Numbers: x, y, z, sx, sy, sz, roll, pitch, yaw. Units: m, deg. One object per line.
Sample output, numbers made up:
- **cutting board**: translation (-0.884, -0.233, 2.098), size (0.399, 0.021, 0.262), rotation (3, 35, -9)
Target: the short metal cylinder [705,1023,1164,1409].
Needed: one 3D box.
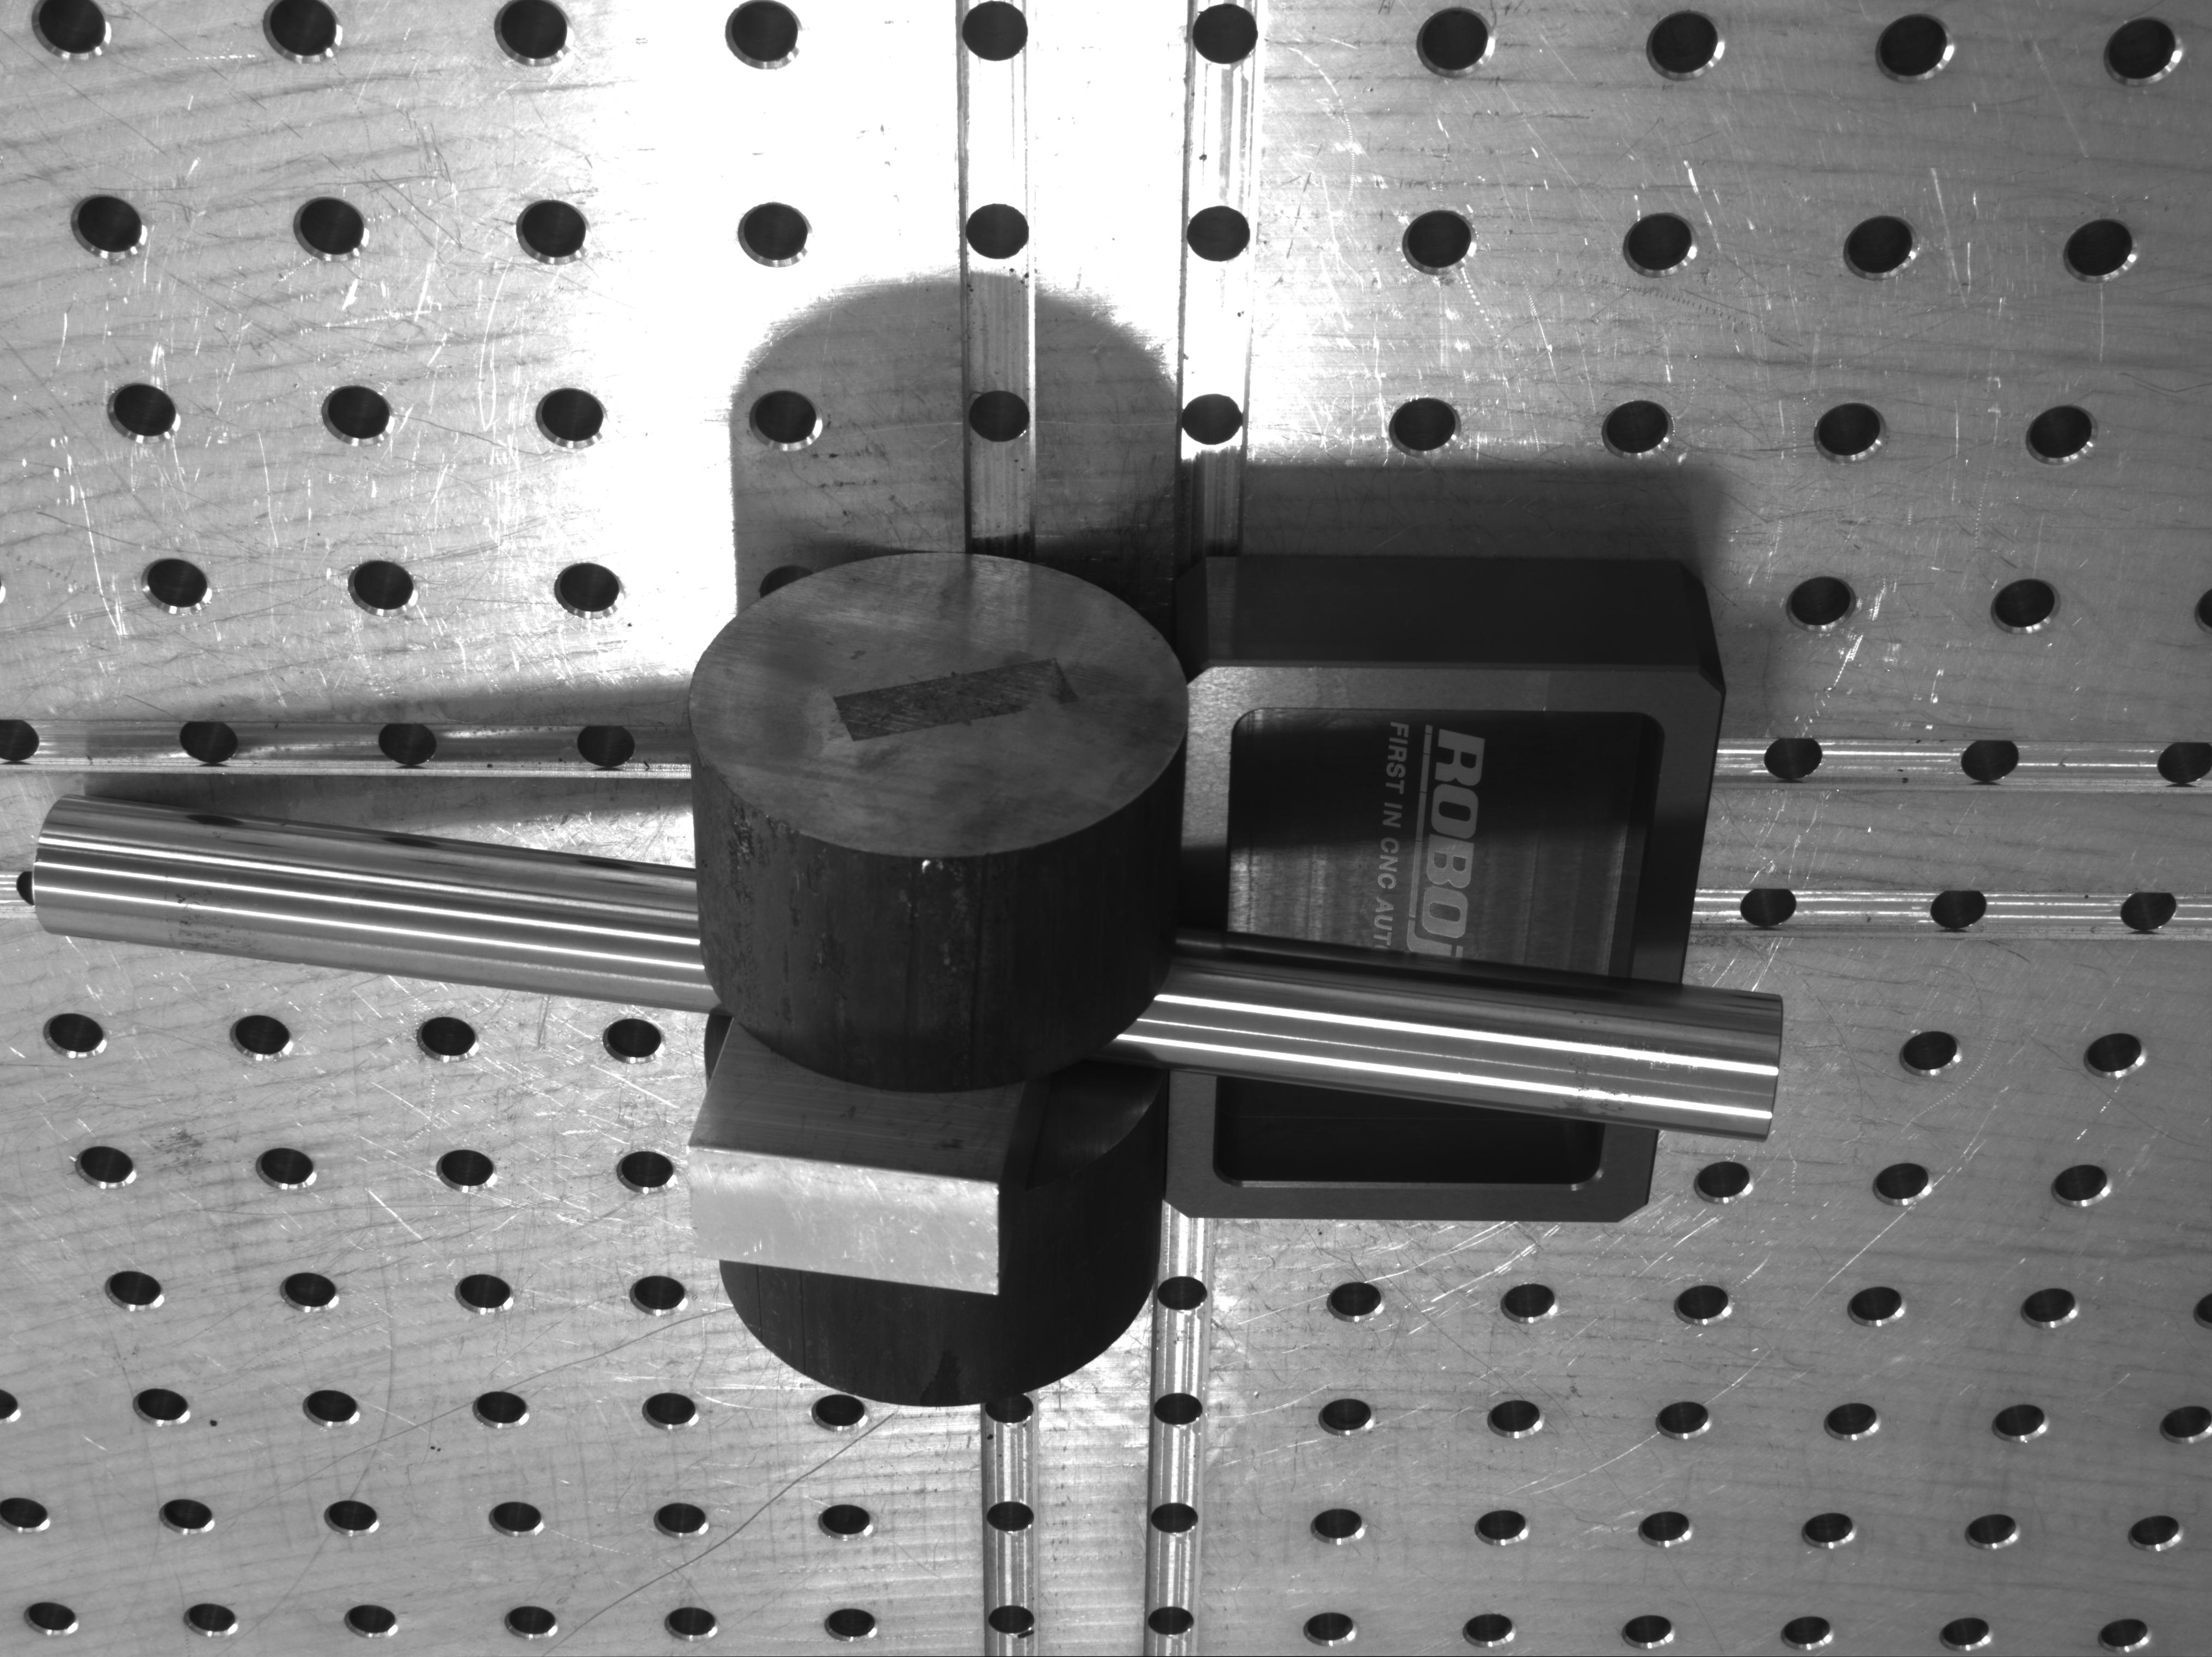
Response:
- **short metal cylinder**: translation (-0.030, 0.056, 0.653), size (0.080, 0.080, 0.050), rotation (1, 130, -1)

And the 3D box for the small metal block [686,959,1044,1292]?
- **small metal block**: translation (-0.038, 0.047, 0.603), size (0.050, 0.050, 0.025), rotation (6, 130, 6)

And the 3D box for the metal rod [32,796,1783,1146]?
- **metal rod**: translation (-0.036, 0.024, 0.632), size (0.300, 0.025, 0.025), rotation (7, 130, 6)

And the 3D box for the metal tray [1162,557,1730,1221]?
- **metal tray**: translation (0.056, 0.014, 0.651), size (0.090, 0.030, 0.130), rotation (1, 130, -1)

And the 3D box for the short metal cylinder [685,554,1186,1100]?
- **short metal cylinder**: translation (-0.027, -0.001, 0.604), size (0.080, 0.080, 0.050), rotation (1, 130, 0)
